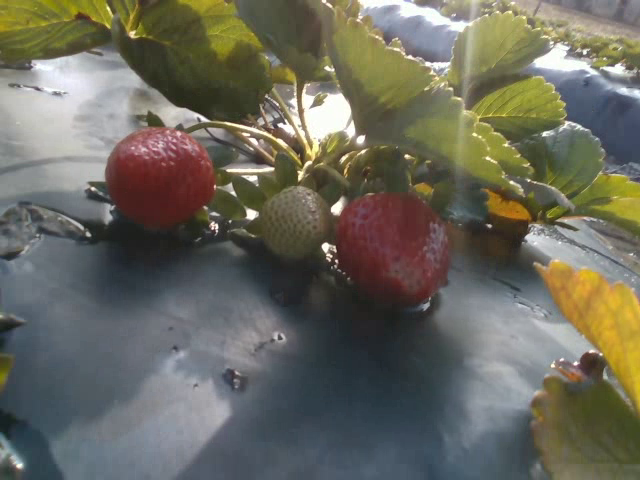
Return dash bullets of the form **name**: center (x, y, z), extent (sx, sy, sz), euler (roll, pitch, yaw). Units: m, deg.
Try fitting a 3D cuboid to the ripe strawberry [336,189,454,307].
- **ripe strawberry**: center (0.028, 0.004, 0.225), extent (0.049, 0.050, 0.064), euler (-24, 30, 12)
